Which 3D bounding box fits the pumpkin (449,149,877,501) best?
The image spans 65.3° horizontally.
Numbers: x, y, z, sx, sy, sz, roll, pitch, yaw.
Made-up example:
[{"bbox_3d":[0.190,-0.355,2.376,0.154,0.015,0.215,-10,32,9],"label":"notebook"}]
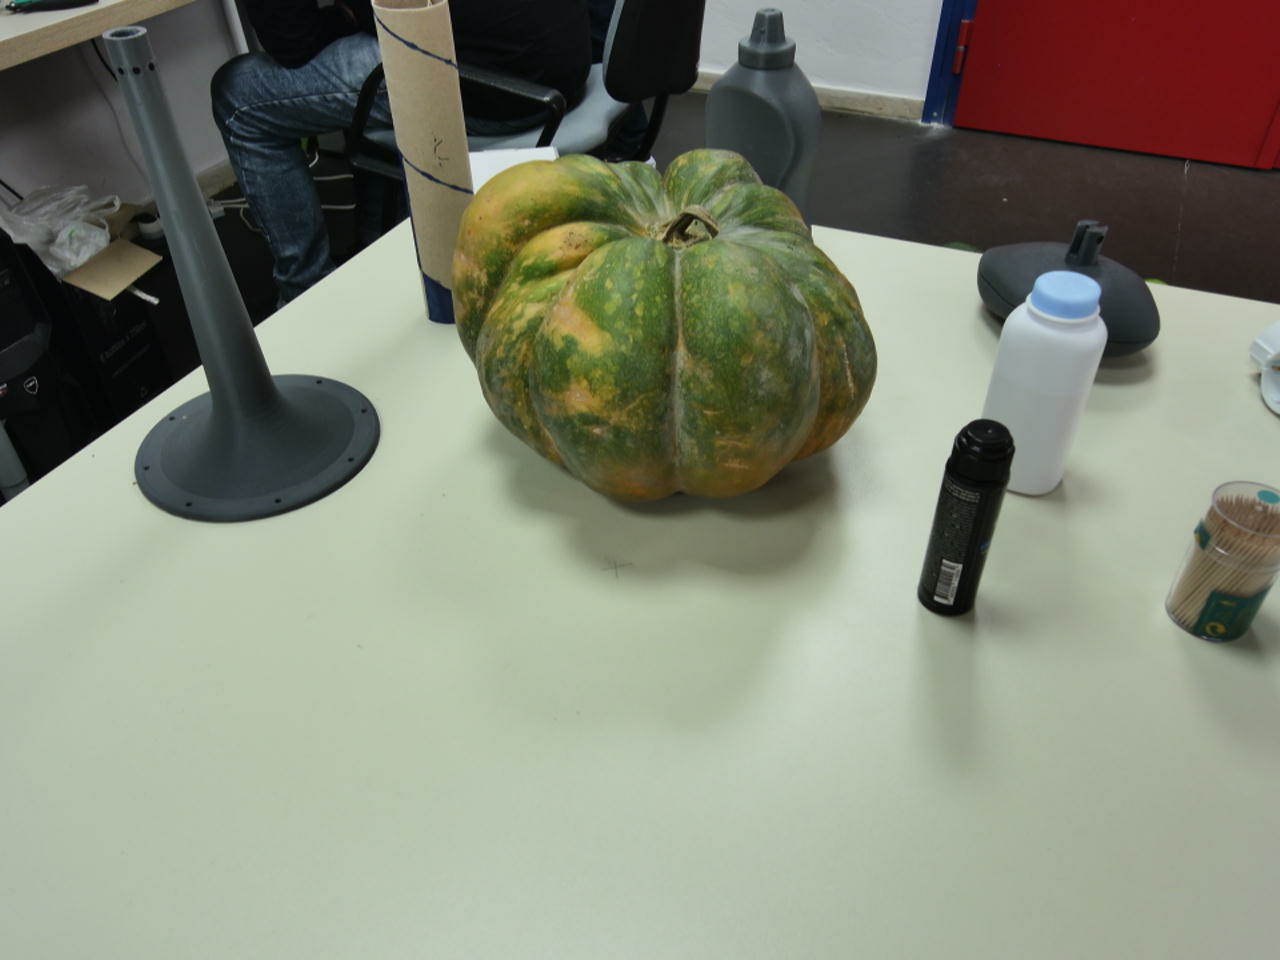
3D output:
[{"bbox_3d":[0.014,-0.100,0.603,0.237,0.173,0.270,-18,42,-21],"label":"pumpkin"}]
